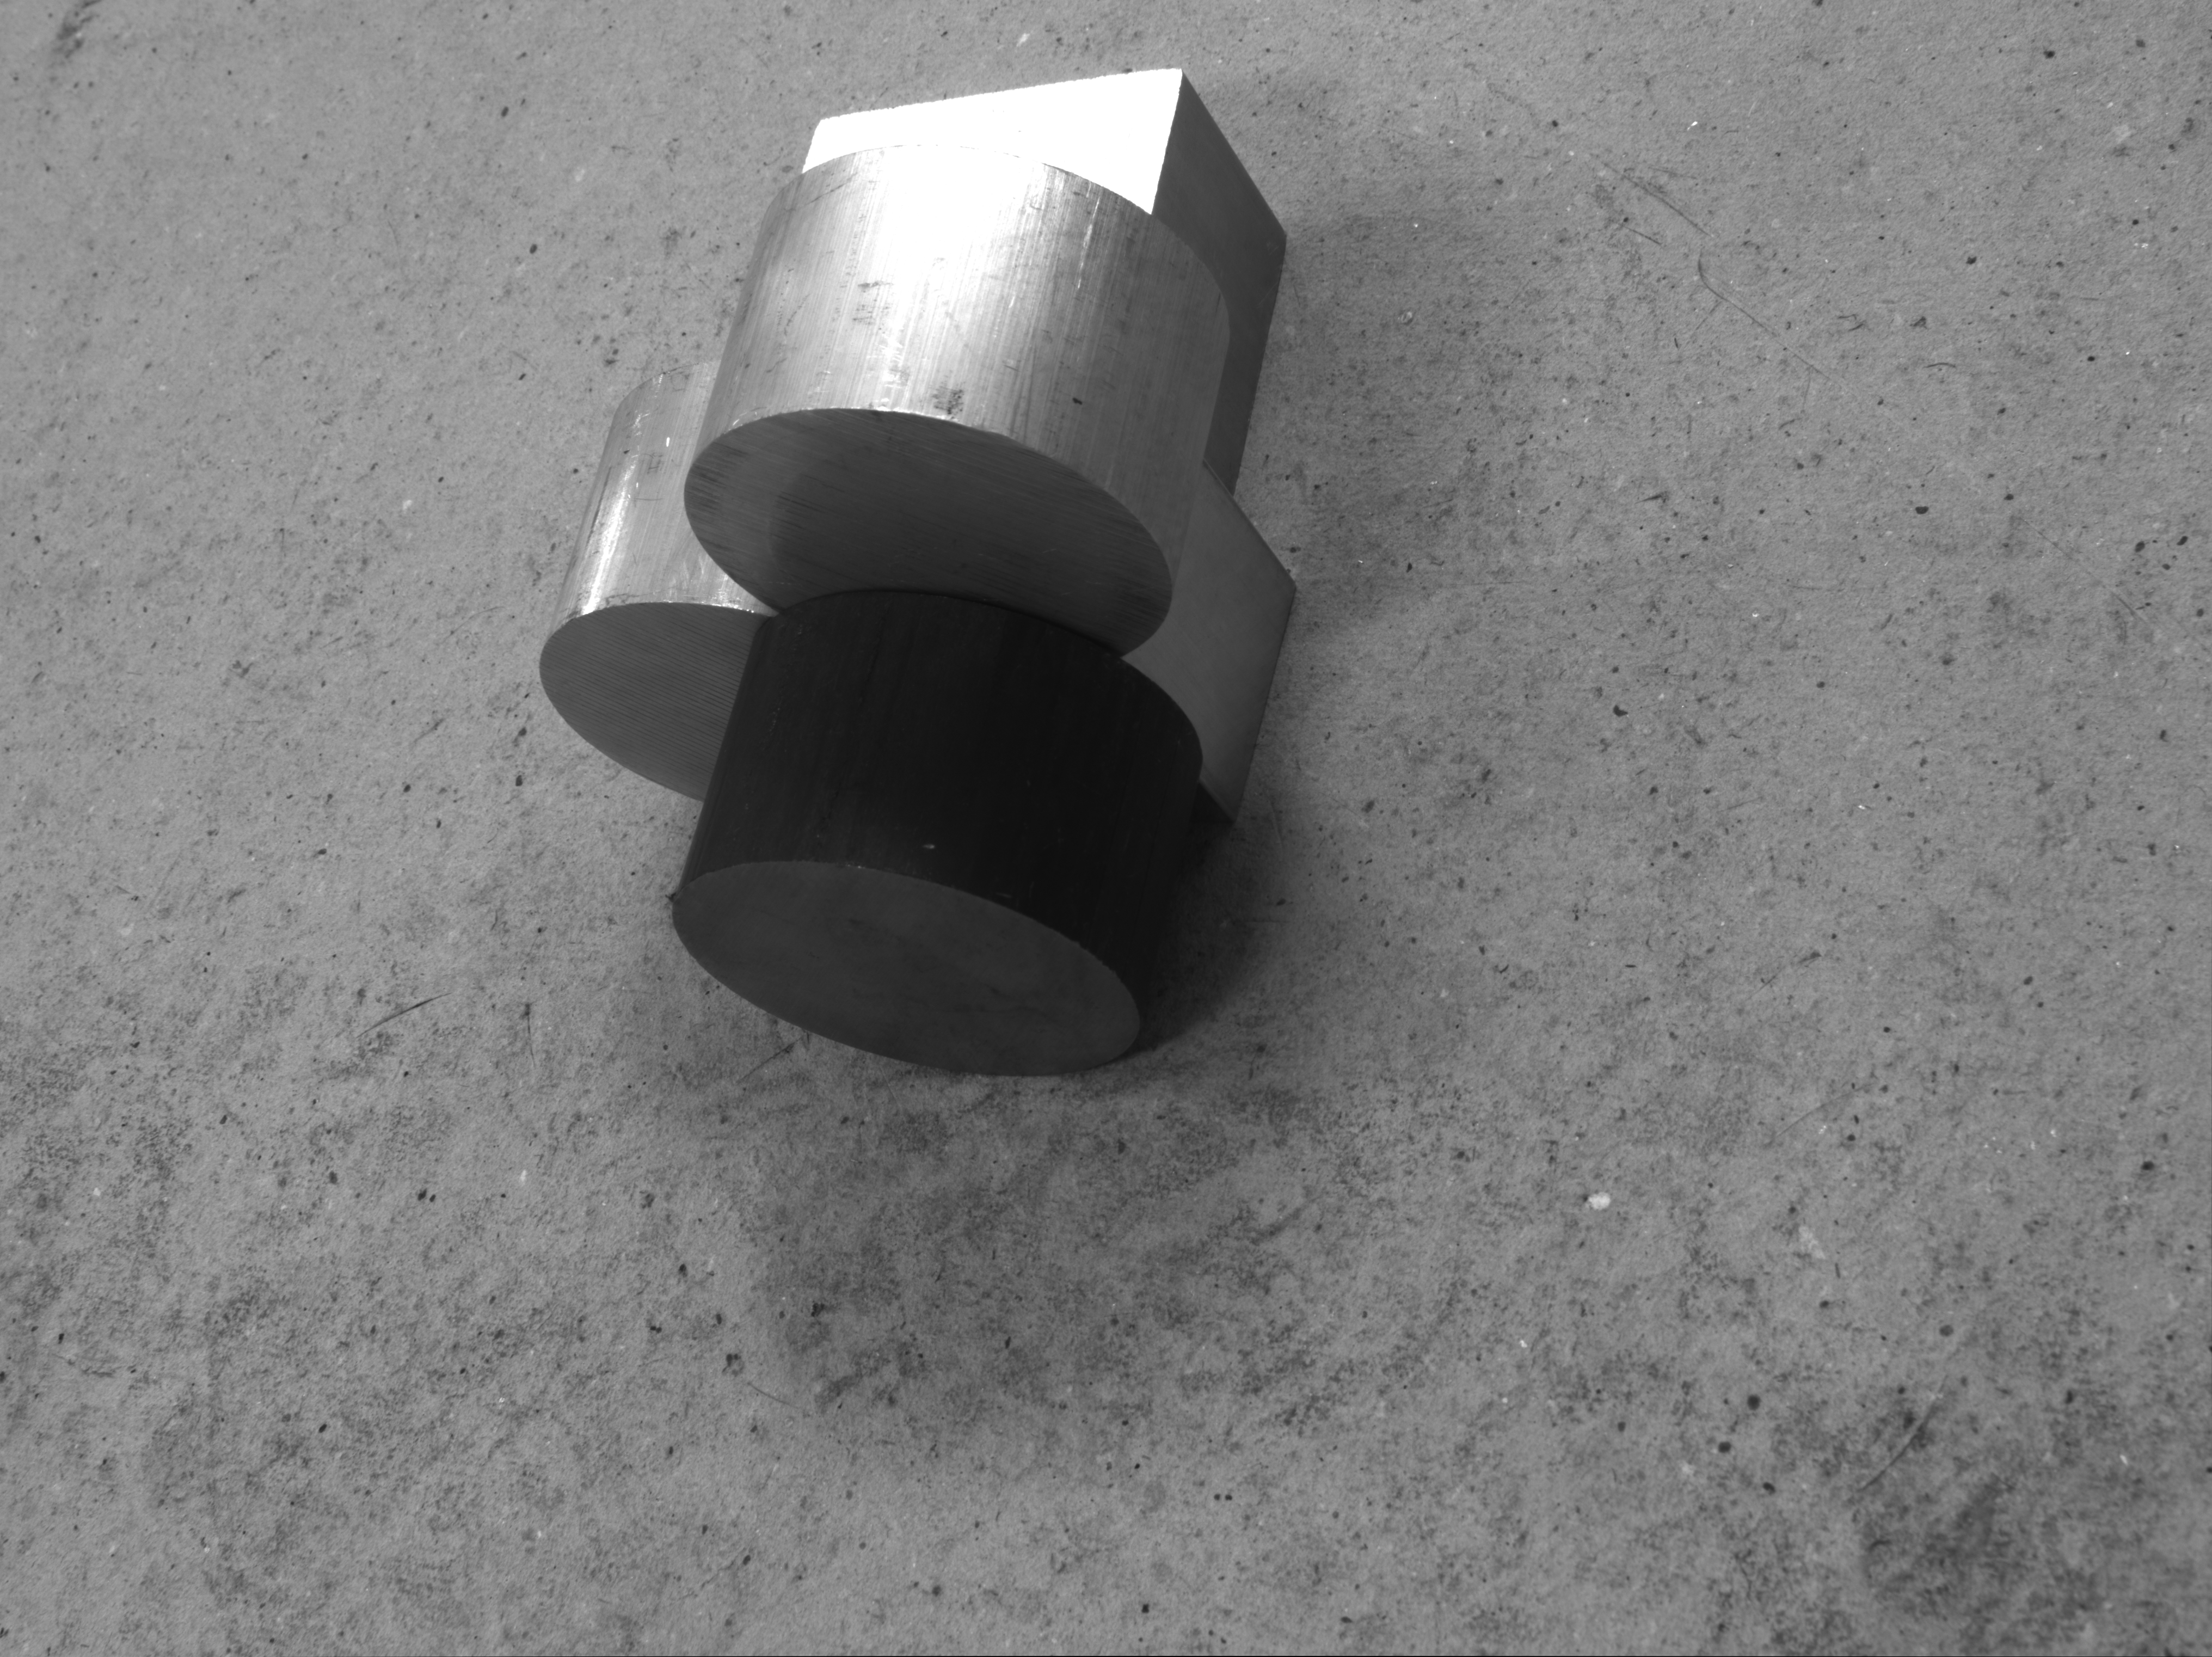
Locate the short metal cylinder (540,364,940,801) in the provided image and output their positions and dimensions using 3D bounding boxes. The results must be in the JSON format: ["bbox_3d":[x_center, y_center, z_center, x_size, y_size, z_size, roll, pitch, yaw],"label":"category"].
[{"bbox_3d":[-0.057,-0.041,0.668,0.080,0.080,0.050,-2,61,27],"label":"short metal cylinder"}]

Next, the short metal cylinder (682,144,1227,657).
[{"bbox_3d":[-0.024,-0.067,0.600,0.080,0.080,0.050,-2,61,27],"label":"short metal cylinder"}]

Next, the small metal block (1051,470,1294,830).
[{"bbox_3d":[0.007,-0.034,0.650,0.025,0.050,0.050,1,62,29],"label":"small metal block"}]

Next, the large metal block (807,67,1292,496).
[{"bbox_3d":[-0.018,-0.092,0.697,0.080,0.050,0.080,-2,61,28],"label":"large metal block"}]

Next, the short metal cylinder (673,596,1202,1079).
[{"bbox_3d":[-0.028,0.003,0.624,0.080,0.080,0.050,0,61,28],"label":"short metal cylinder"}]
